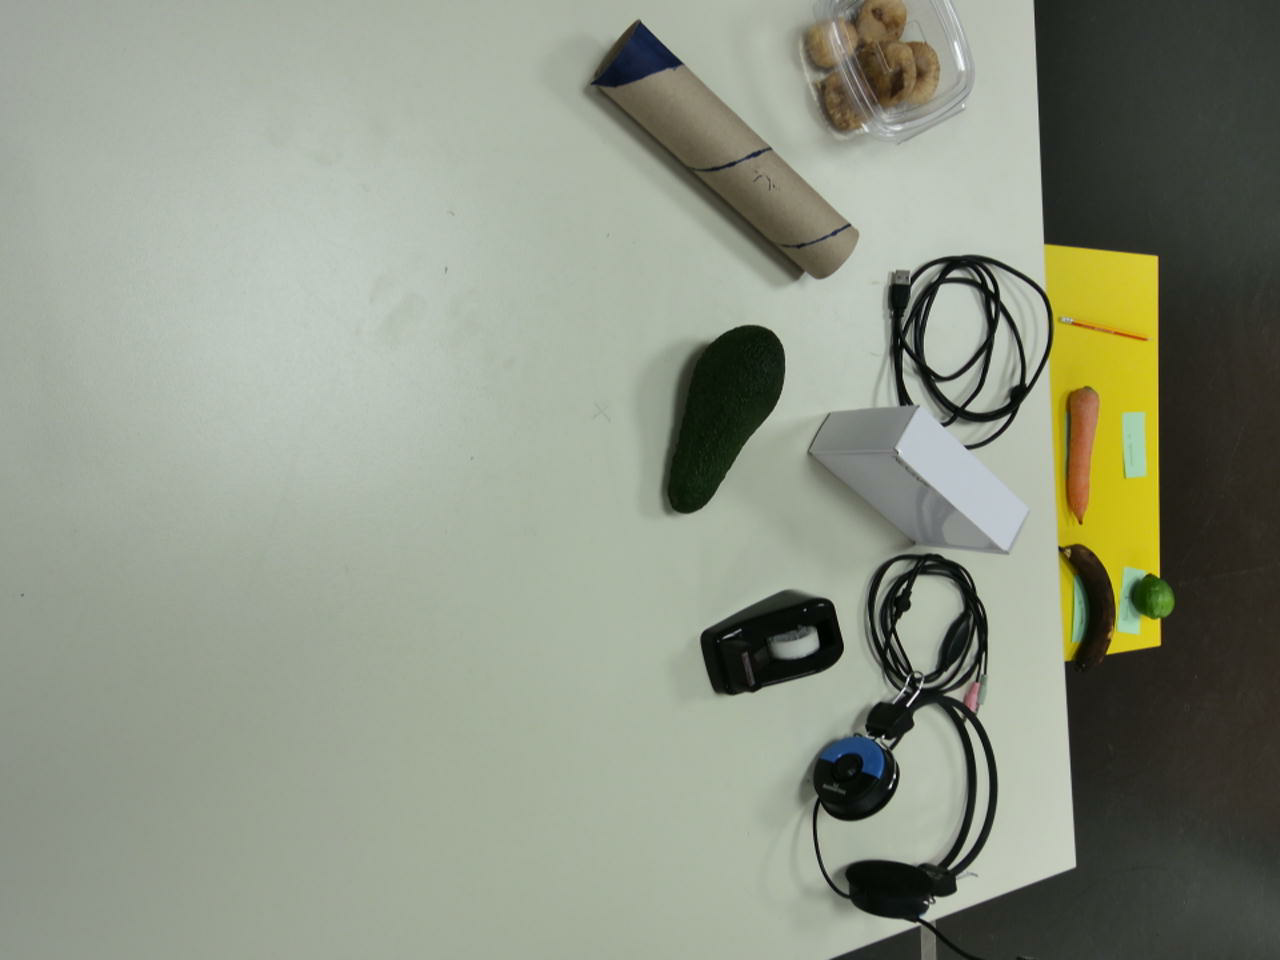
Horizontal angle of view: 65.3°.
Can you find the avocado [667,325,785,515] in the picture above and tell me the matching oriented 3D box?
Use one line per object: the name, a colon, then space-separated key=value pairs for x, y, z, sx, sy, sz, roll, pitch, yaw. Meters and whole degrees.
avocado: x=0.064 y=-0.040 z=0.697 sx=0.063 sy=0.067 sz=0.141 roll=12 pitch=85 yaw=-27
